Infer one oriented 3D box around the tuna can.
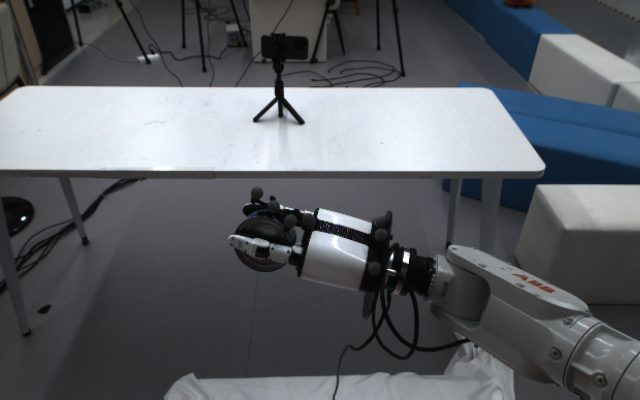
[{"bbox_3d":[-0.075,0.057,0.691,0.085,0.085,0.034,7,16,7],"label":"tuna can"}]
